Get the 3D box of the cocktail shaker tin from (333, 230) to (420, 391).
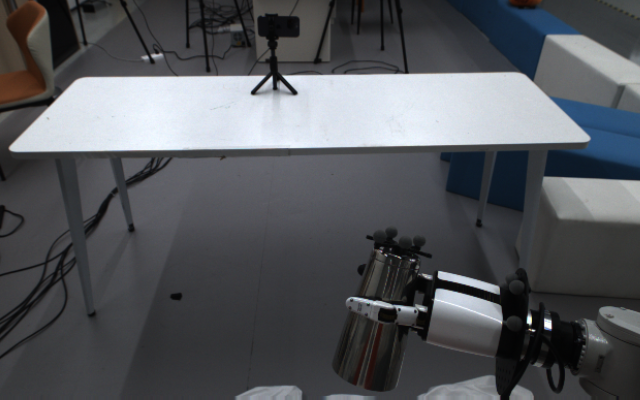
[{"bbox_3d":[0.082,0.150,0.644,0.093,0.170,0.093,14,7,-2],"label":"cocktail shaker tin"}]
